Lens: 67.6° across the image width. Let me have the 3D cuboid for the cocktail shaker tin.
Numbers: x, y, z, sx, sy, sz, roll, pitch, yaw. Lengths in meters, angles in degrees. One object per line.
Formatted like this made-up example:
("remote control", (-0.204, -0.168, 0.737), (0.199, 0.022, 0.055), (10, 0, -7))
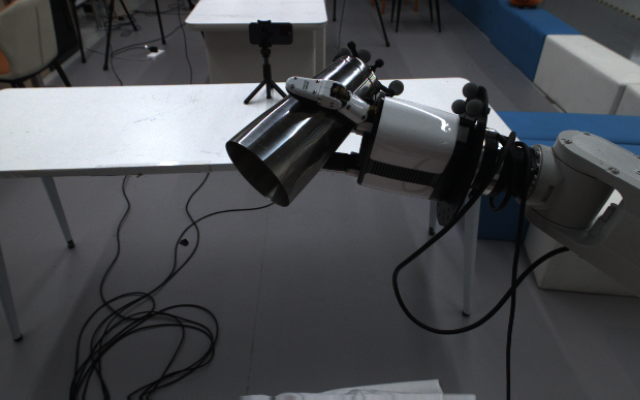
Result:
("cocktail shaker tin", (-0.010, -0.087, 0.536), (0.093, 0.093, 0.170), (32, 66, 35))
